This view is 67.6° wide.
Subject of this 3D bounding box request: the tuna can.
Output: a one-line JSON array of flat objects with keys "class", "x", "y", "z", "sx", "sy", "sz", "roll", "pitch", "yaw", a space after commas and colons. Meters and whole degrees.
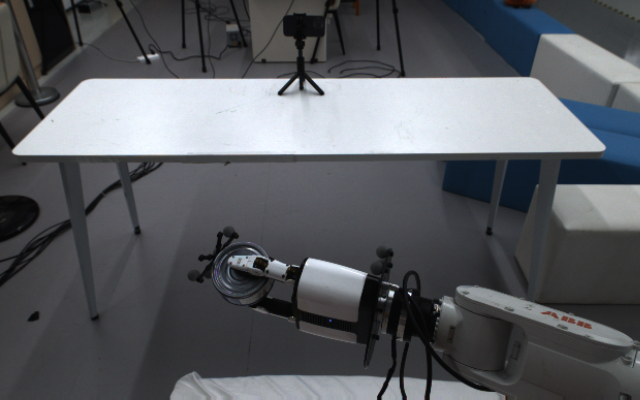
[{"class": "tuna can", "x": -0.104, "y": 0.107, "z": 0.676, "sx": 0.085, "sy": 0.034, "sz": 0.085, "roll": -1, "pitch": 62, "yaw": 2}]
